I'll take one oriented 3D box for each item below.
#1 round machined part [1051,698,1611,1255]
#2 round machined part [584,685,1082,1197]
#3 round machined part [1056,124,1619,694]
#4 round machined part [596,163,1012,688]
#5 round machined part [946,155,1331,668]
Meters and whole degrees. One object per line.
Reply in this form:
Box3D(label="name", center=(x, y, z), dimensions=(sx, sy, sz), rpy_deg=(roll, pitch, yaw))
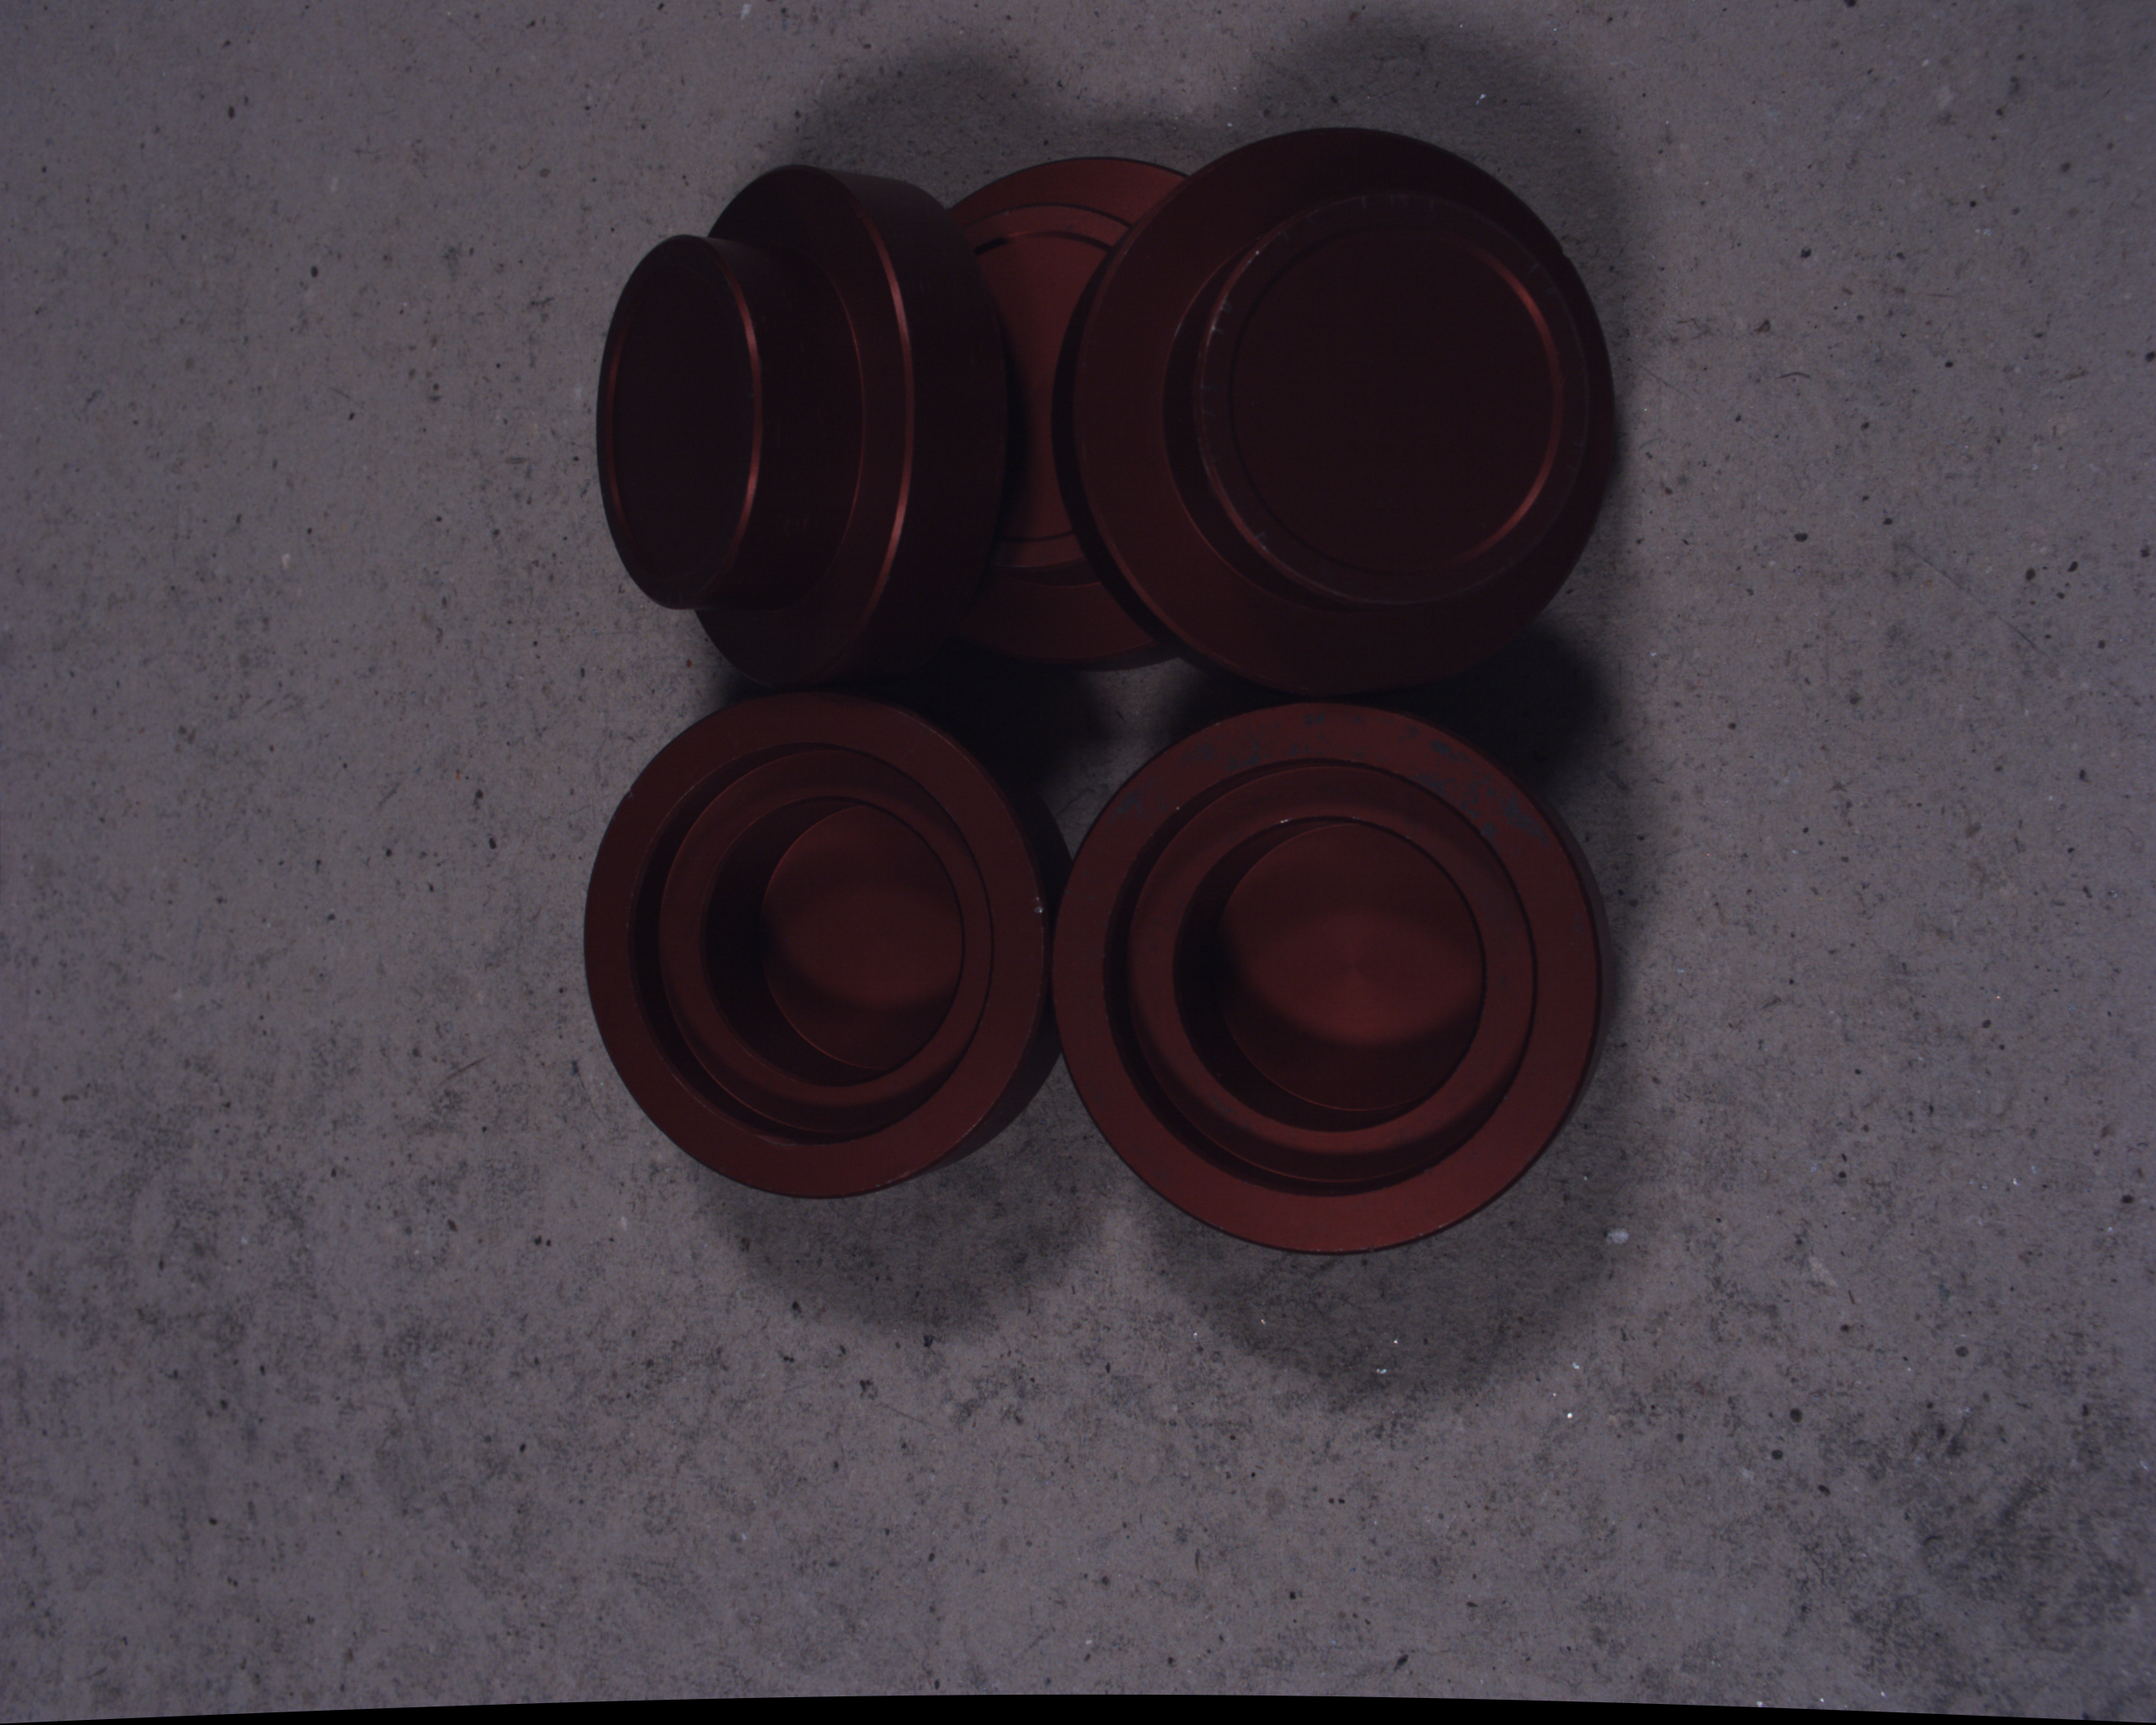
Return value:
Box3D(label="round machined part", center=(0.048, 0.020, 0.383), dimensions=(0.098, 0.042, 0.097), rpy_deg=(0, 90, 19))
Box3D(label="round machined part", center=(-0.045, 0.015, 0.416), dimensions=(0.098, 0.042, 0.097), rpy_deg=(0, 90, 19))
Box3D(label="round machined part", center=(0.048, -0.078, 0.360), dimensions=(0.099, 0.042, 0.097), rpy_deg=(-1, 96, -12))
Box3D(label="round machined part", center=(-0.058, -0.082, 0.395), dimensions=(0.098, 0.042, 0.097), rpy_deg=(7, 99, 52))
Box3D(label="round machined part", center=(-0.002, -0.087, 0.400), dimensions=(0.098, 0.042, 0.097), rpy_deg=(0, 90, 19))
